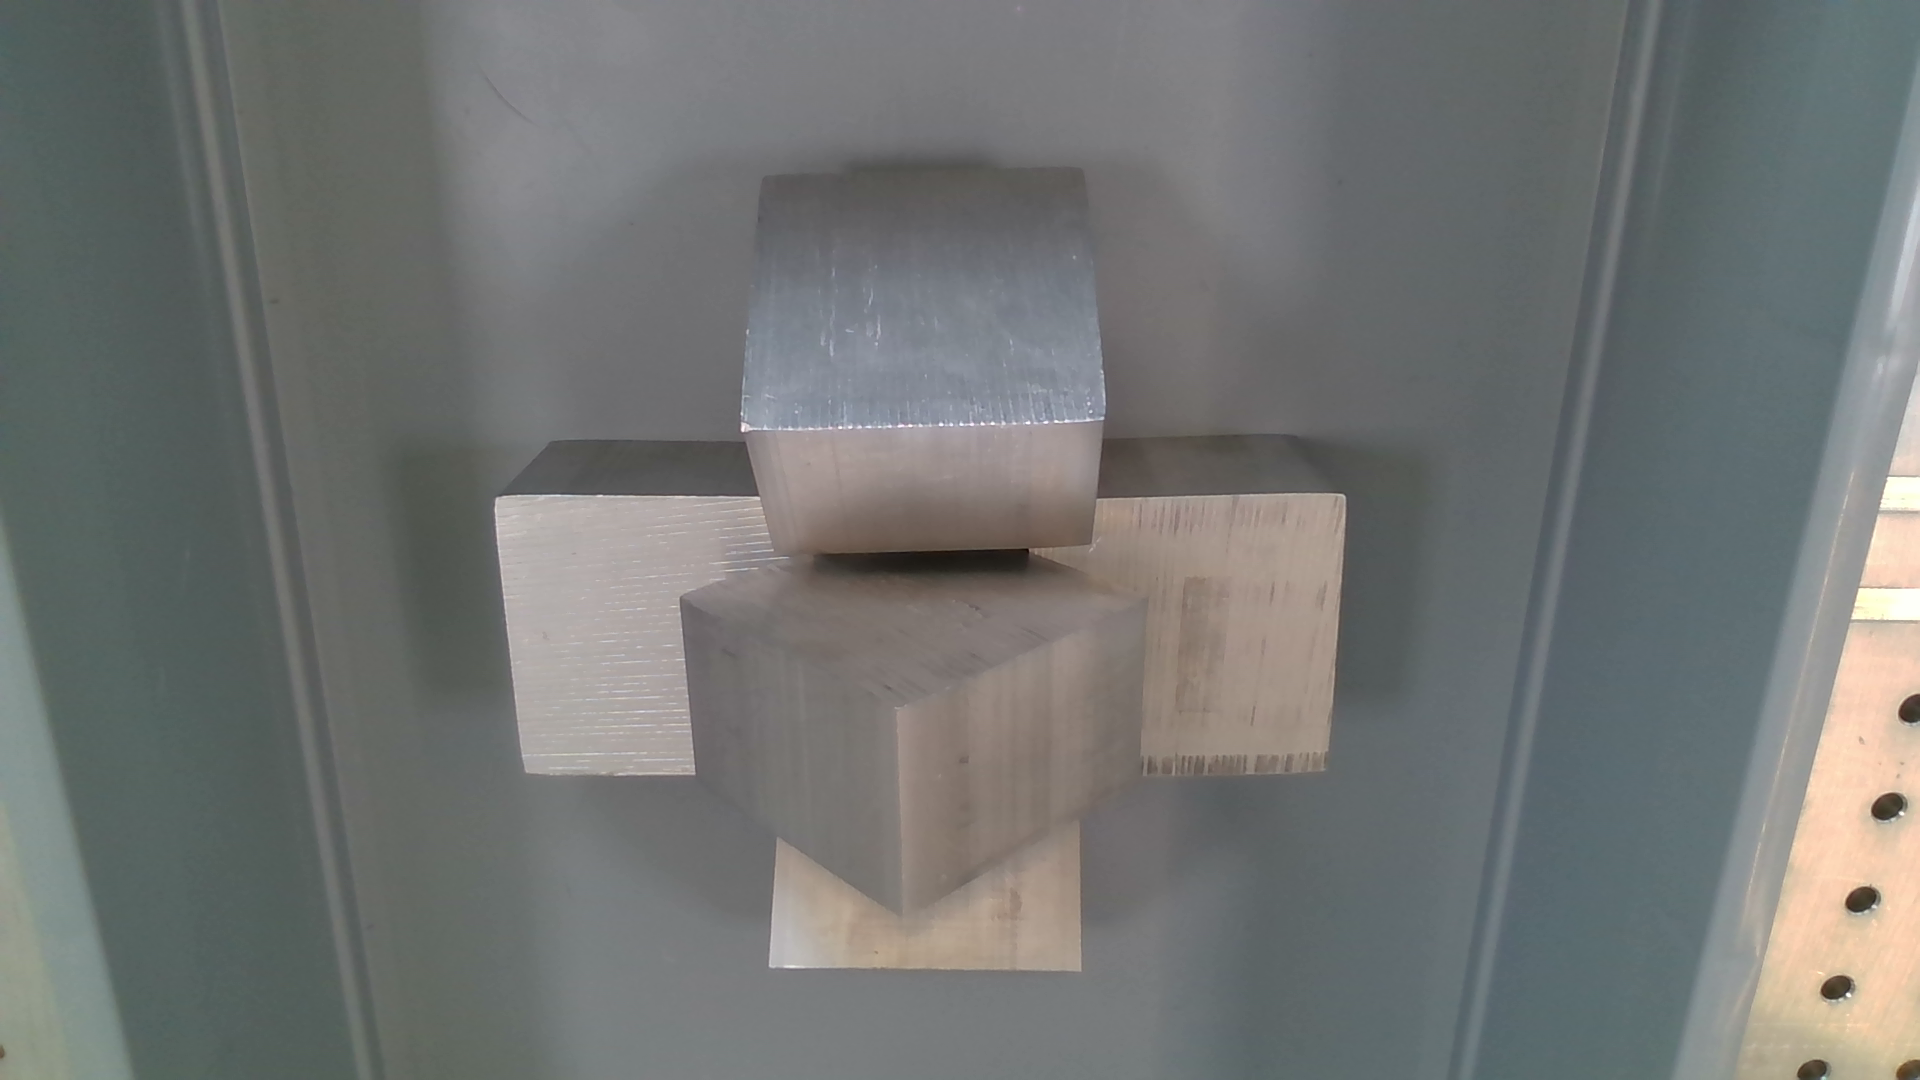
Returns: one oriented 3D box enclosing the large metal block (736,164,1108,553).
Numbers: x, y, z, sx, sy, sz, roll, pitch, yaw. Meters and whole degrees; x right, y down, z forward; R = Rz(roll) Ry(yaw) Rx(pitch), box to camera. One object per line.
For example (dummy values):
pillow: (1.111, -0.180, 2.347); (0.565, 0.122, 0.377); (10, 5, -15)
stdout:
large metal block: (-0.008, -0.045, 0.339); (0.080, 0.080, 0.050); (-1, 146, 1)

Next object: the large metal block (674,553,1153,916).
large metal block: (-0.011, 0.036, 0.334); (0.080, 0.080, 0.050); (-20, 118, -40)

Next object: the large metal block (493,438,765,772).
large metal block: (-0.079, 0.017, 0.386); (0.080, 0.050, 0.080); (1, 110, 0)

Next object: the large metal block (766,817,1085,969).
large metal block: (-0.008, 0.096, 0.391); (0.080, 0.080, 0.050); (1, 71, 0)

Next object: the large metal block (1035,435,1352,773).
large metal block: (0.060, 0.017, 0.383); (0.080, 0.050, 0.080); (-1, 110, 1)
